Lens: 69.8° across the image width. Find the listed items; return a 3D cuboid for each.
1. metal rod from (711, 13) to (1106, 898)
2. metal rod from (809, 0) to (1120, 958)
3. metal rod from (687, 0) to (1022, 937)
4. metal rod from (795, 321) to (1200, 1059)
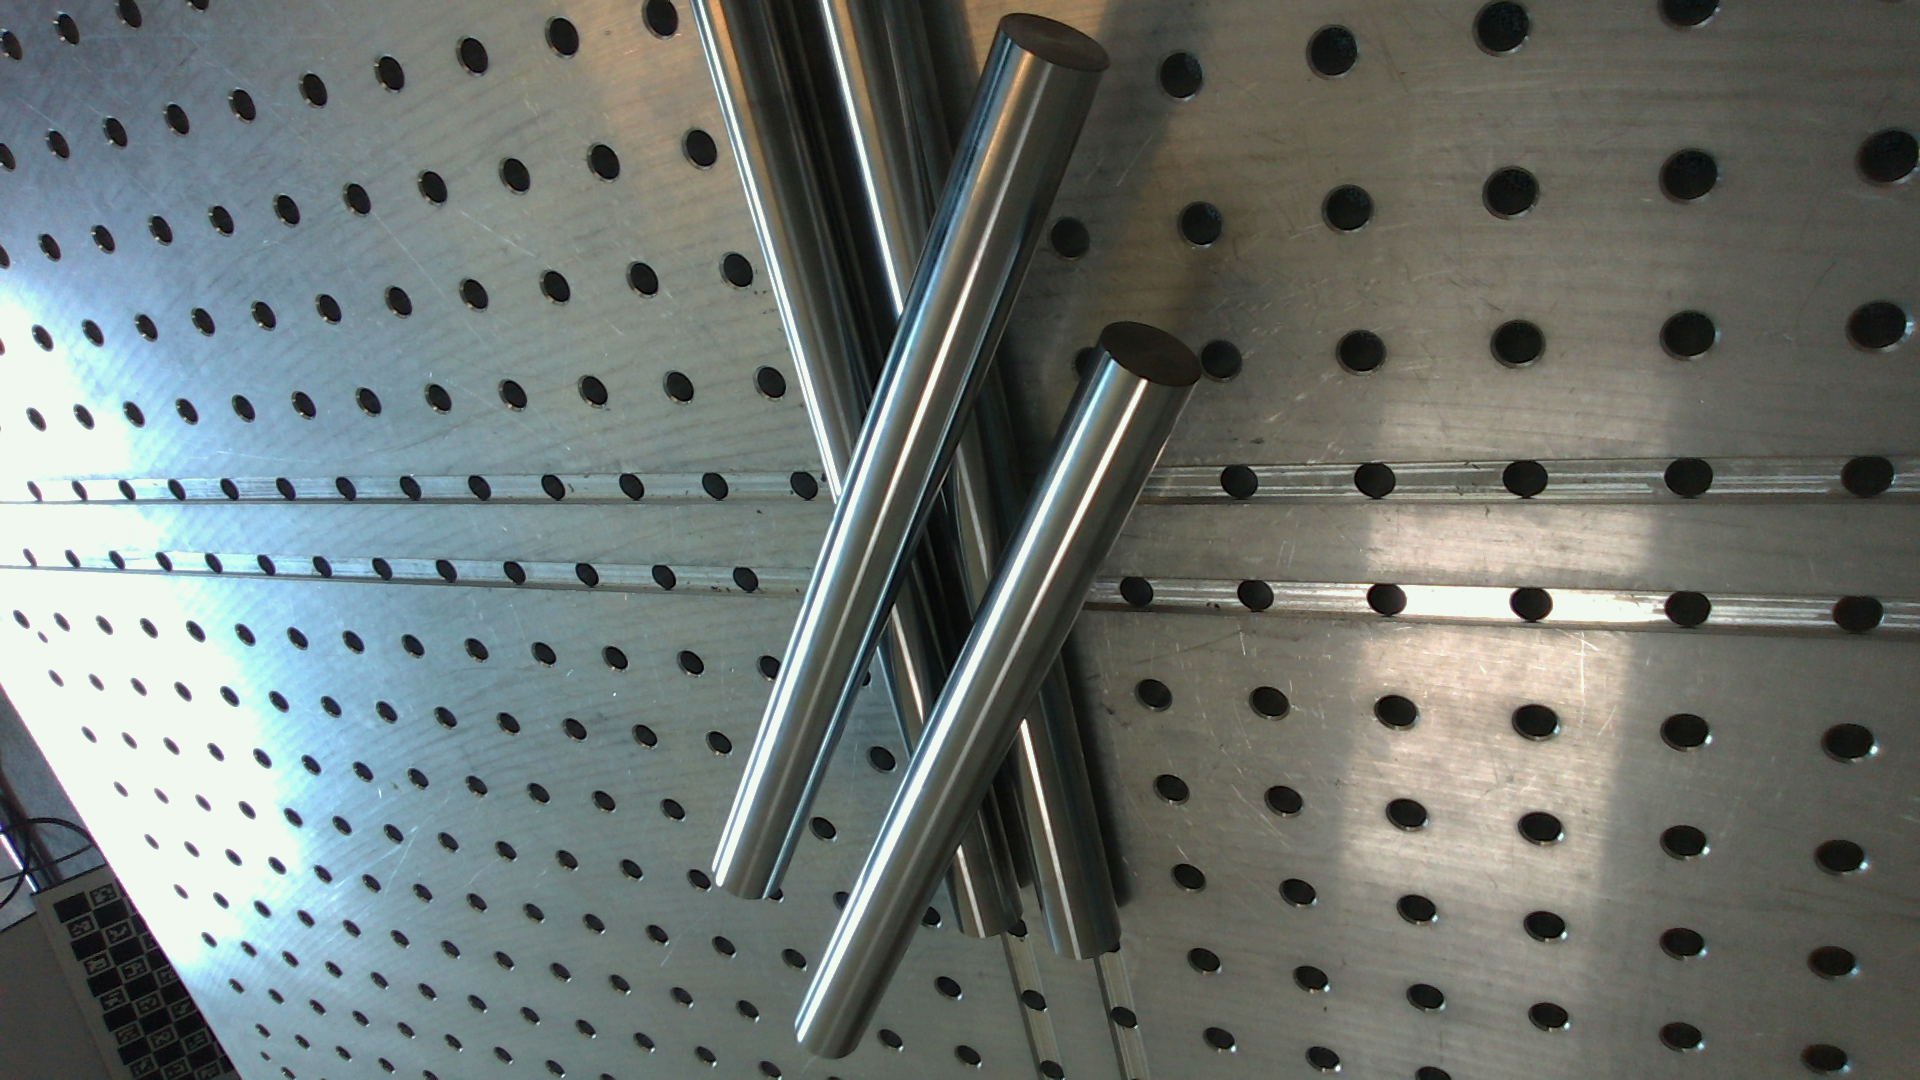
[{"bbox_3d":[-0.027,0.004,0.381,0.025,0.025,0.299,30,128,9],"label":"metal rod"},{"bbox_3d":[0.008,-0.003,0.391,0.025,0.025,0.300,1,119,28],"label":"metal rod"},{"bbox_3d":[-0.023,-0.005,0.406,0.025,0.025,0.300,1,119,28],"label":"metal rod"},{"bbox_3d":[-0.003,0.067,0.406,0.025,0.025,0.299,30,128,9],"label":"metal rod"}]
